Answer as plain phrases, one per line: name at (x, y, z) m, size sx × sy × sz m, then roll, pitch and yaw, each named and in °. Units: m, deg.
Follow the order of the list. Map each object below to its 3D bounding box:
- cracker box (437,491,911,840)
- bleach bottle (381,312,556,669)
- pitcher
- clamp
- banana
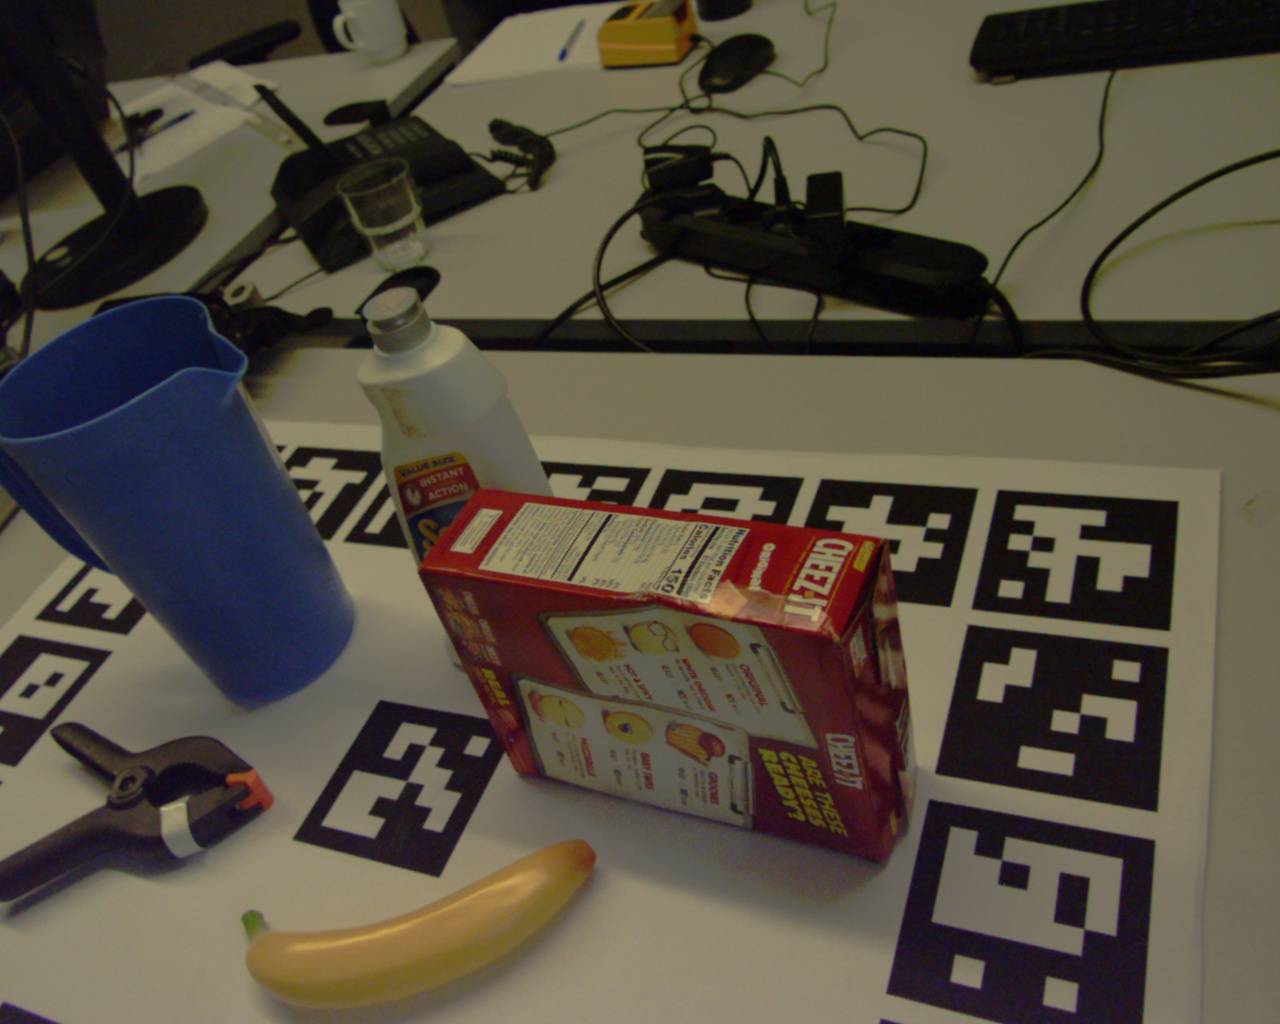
cracker box at (0.021, 0.074, 0.592) m, size 0.216 × 0.163 × 0.071 m, roll 4°, pitch 40°, yaw 27°
bleach bottle at (-0.101, -0.006, 0.691) m, size 0.104 × 0.249 × 0.067 m, roll 4°, pitch 42°, yaw 25°
pitcher at (-0.290, -0.006, 0.734) m, size 0.189 × 0.241 × 0.133 m, roll -7°, pitch 39°, yaw 9°
clamp at (-0.296, 0.176, 0.718) m, size 0.166 × 0.036 × 0.122 m, roll -7°, pitch 39°, yaw 11°
banana at (-0.102, 0.211, 0.612) m, size 0.197 × 0.038 × 0.075 m, roll -19°, pitch 38°, yaw -1°
